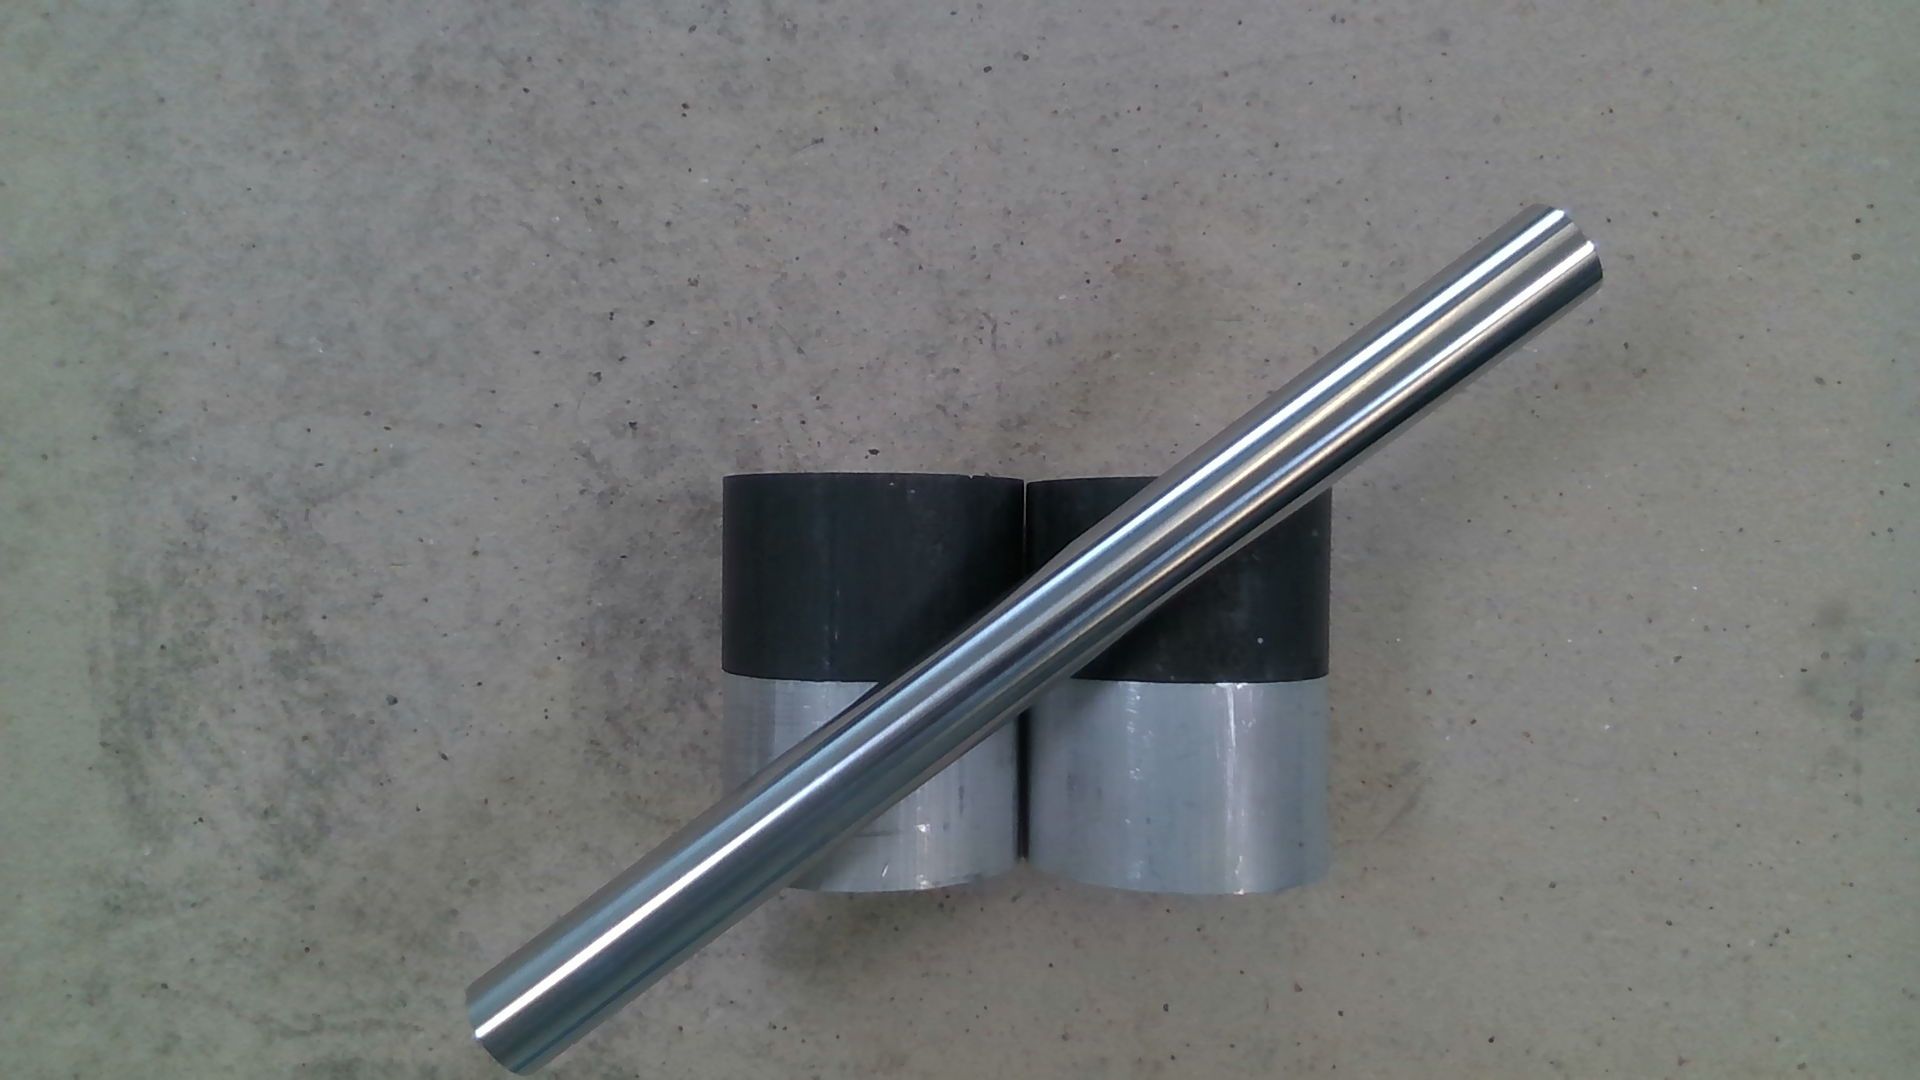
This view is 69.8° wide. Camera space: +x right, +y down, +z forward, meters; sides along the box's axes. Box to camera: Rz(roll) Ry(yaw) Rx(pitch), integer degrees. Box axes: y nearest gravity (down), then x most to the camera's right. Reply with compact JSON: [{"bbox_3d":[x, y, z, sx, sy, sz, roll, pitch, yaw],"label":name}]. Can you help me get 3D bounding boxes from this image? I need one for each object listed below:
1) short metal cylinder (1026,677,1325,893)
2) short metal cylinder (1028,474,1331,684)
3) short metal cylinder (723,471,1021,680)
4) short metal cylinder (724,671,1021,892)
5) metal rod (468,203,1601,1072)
[{"bbox_3d":[0.057,0.059,0.369,0.080,0.080,0.050,1,90,0],"label":"short metal cylinder"},{"bbox_3d":[0.058,0.010,0.368,0.080,0.080,0.050,1,90,0],"label":"short metal cylinder"},{"bbox_3d":[-0.023,0.009,0.368,0.080,0.080,0.050,1,90,0],"label":"short metal cylinder"},{"bbox_3d":[-0.023,0.059,0.369,0.080,0.080,0.050,1,90,0],"label":"short metal cylinder"},{"bbox_3d":[0.017,0.022,0.316,0.300,0.025,0.025,-36,90,0],"label":"metal rod"}]
